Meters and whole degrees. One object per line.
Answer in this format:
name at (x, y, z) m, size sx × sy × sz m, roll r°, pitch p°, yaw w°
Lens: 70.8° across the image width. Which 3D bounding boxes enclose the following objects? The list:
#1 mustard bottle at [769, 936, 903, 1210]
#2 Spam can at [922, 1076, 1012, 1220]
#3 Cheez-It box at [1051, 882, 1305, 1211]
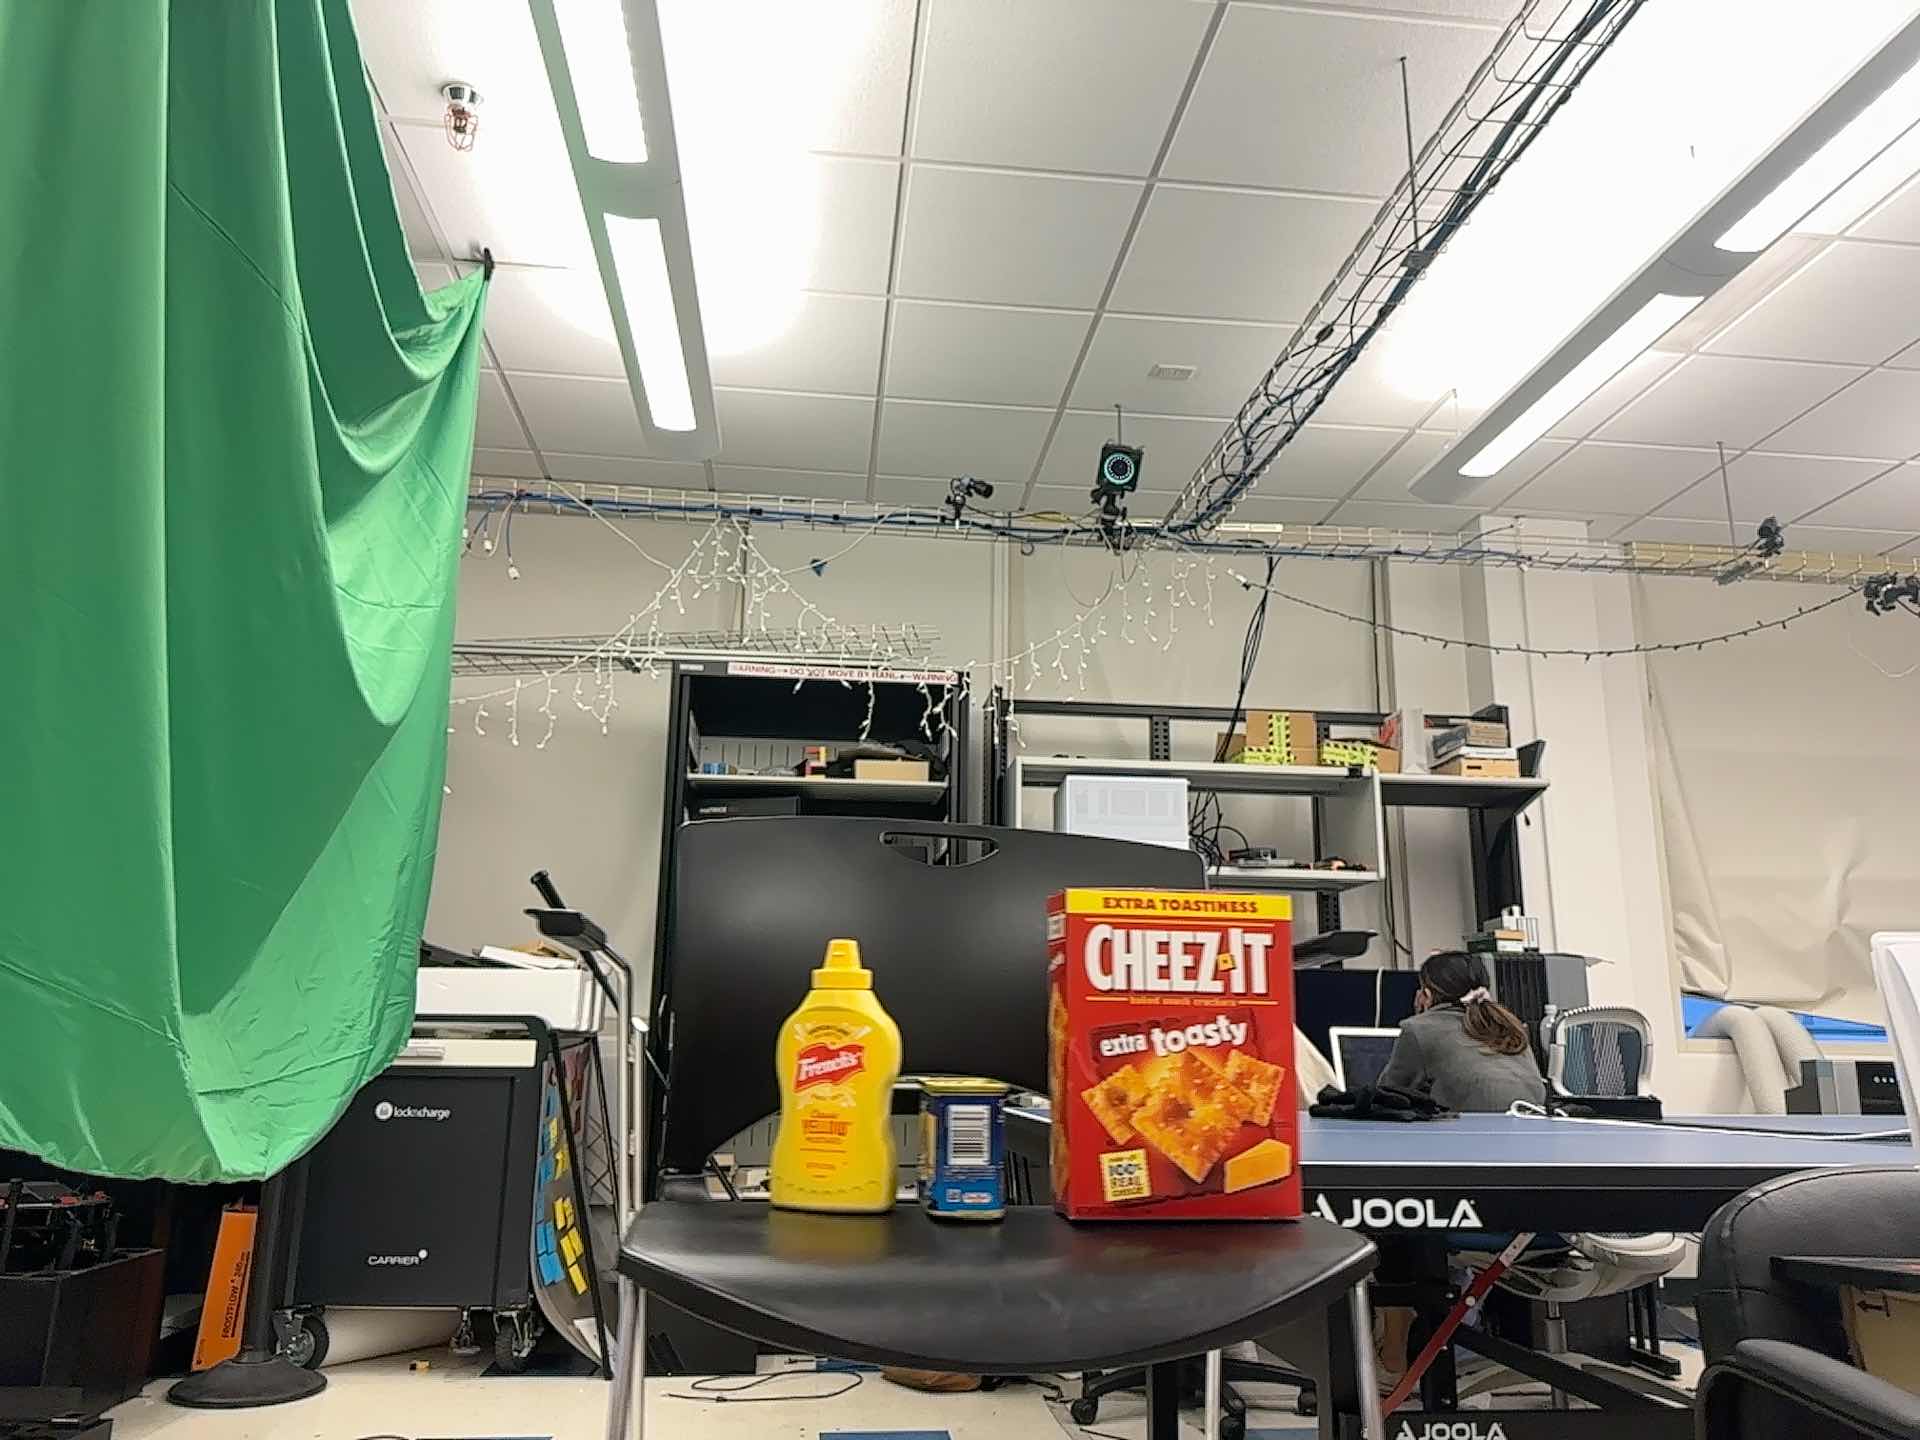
mustard bottle at (-0.086, 0.246, 0.957) m, size 0.092 × 0.184 × 0.054 m, roll 0°, pitch -11°, yaw 11°
Spam can at (0.002, 0.298, 0.950) m, size 0.056 × 0.083 × 0.100 m, roll 3°, pitch -11°, yaw -3°
Cheez-It box at (0.152, 0.228, 0.958) m, size 0.159 × 0.214 × 0.062 m, roll 2°, pitch -13°, yaw -5°
